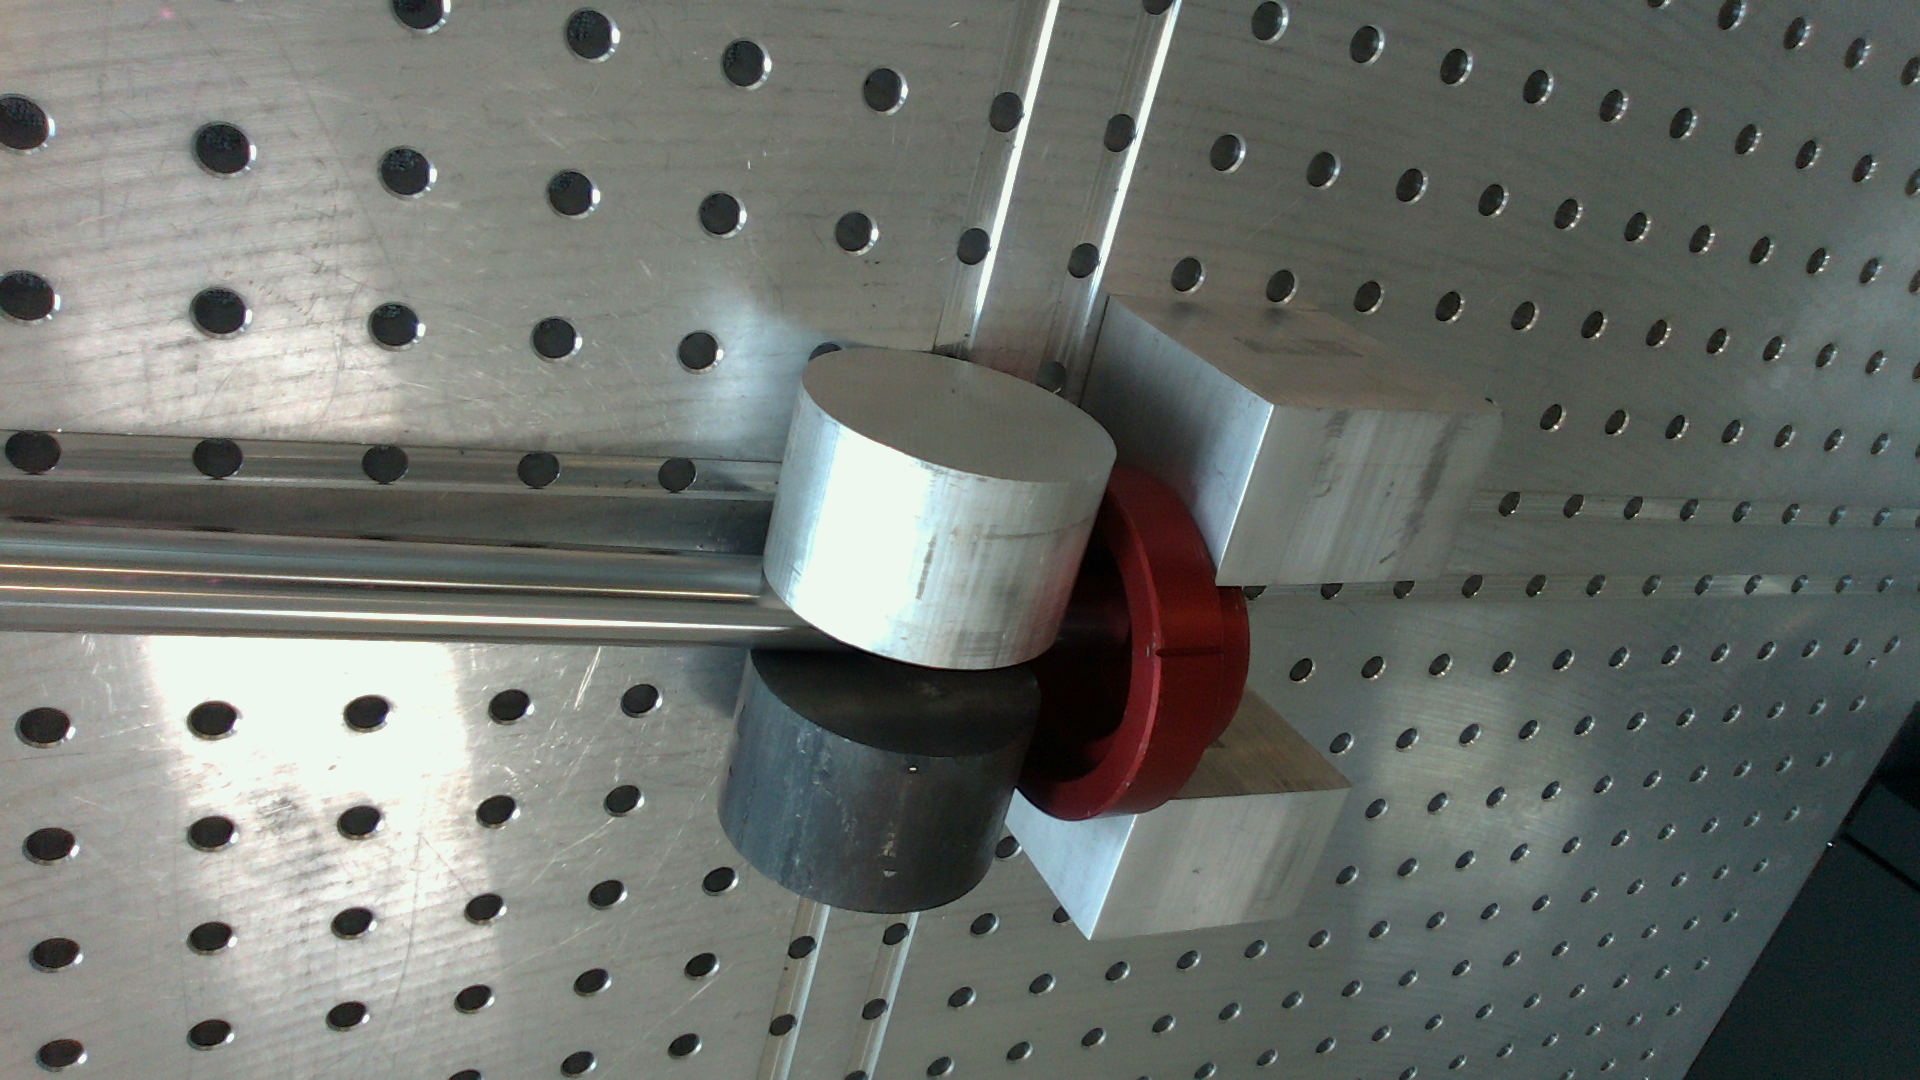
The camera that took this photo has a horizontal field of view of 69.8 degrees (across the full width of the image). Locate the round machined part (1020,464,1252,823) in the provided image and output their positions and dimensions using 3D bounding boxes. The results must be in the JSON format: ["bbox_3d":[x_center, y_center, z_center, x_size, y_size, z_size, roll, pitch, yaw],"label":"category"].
[{"bbox_3d":[0.044,0.028,0.385,0.042,0.098,0.098,1,118,-29],"label":"round machined part"}]

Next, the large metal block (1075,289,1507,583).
[{"bbox_3d":[0.087,-0.030,0.387,0.080,0.080,0.050,0,119,-28],"label":"large metal block"}]

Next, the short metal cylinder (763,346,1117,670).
[{"bbox_3d":[-0.006,-0.010,0.347,0.080,0.080,0.050,1,119,-29],"label":"short metal cylinder"}]

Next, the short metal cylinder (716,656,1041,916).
[{"bbox_3d":[-0.023,0.056,0.378,0.080,0.080,0.050,1,118,-29],"label":"short metal cylinder"}]

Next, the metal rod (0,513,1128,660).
[{"bbox_3d":[-0.093,0.014,0.335,0.301,0.025,0.025,4,117,-26],"label":"metal rod"}]

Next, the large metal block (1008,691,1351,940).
[{"bbox_3d":[0.060,0.076,0.437,0.080,0.080,0.050,3,117,-30],"label":"large metal block"}]
